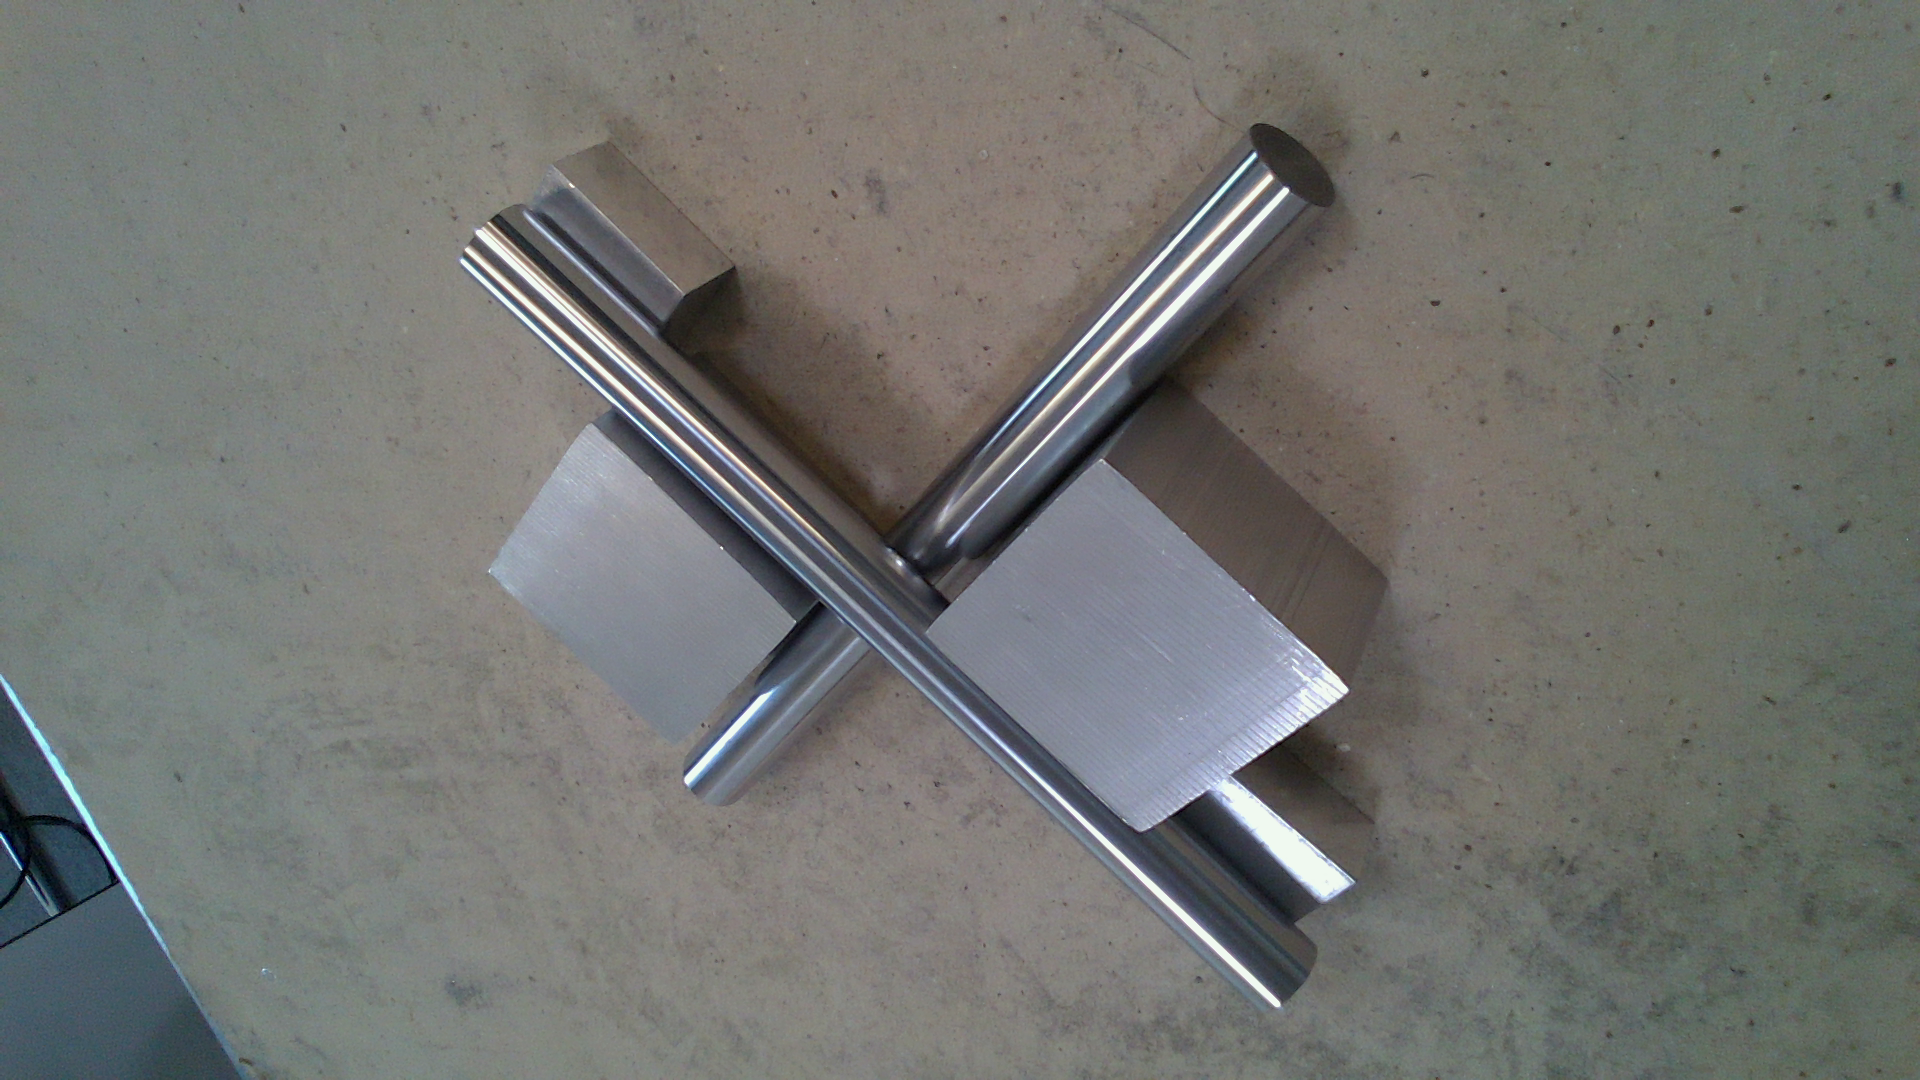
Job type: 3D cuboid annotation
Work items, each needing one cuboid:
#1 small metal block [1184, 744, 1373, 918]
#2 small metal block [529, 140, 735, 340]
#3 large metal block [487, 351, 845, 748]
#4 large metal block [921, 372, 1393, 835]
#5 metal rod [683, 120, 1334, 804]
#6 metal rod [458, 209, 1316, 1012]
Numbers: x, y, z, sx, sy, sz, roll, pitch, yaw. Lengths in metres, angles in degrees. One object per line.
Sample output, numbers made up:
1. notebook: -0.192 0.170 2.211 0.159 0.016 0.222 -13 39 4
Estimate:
1. small metal block: 0.082 0.086 0.403 0.050 0.025 0.050 40 129 1
2. small metal block: -0.102 -0.078 0.401 0.050 0.025 0.050 44 129 -3
3. large metal block: -0.085 0.004 0.423 0.080 0.050 0.080 44 129 -3
4. large metal block: 0.051 0.017 0.360 0.080 0.050 0.080 43 129 -1
5. metal rod: -0.007 0.000 0.398 0.025 0.025 0.299 43 129 -1
6. metal rod: -0.019 0.021 0.383 0.300 0.025 0.025 43 129 -2
